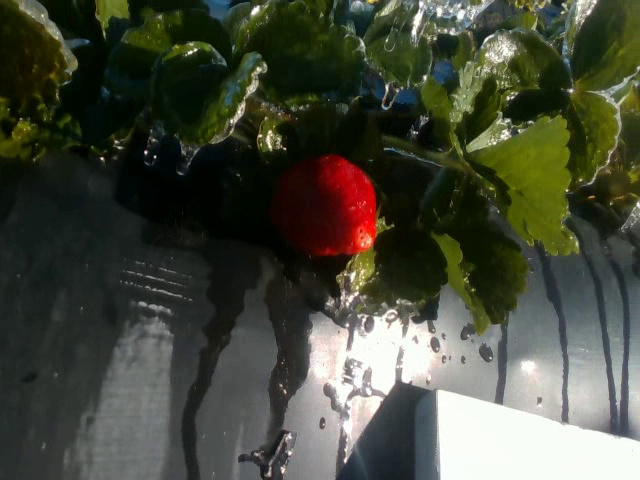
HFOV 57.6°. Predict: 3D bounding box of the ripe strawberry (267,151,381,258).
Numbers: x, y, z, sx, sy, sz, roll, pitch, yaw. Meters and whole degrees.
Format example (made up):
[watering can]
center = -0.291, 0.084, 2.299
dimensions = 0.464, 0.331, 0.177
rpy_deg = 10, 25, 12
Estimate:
[ripe strawberry]
center = 0.006, -0.008, 0.200
dimensions = 0.041, 0.047, 0.053
rpy_deg = 13, 16, -19
